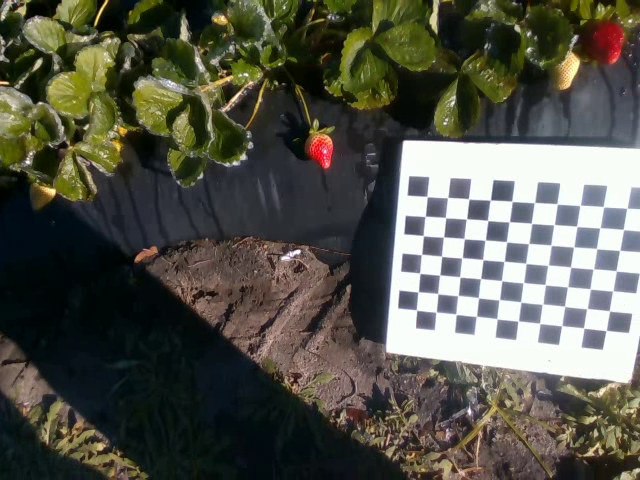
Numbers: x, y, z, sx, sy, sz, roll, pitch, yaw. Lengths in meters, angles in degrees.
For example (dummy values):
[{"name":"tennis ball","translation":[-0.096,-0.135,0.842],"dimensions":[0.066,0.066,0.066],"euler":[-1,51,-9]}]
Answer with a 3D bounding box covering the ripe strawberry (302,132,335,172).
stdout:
[{"name":"ripe strawberry","translation":[0.002,-0.108,0.714],"dimensions":[0.039,0.053,0.041],"euler":[-17,-10,16]}]
